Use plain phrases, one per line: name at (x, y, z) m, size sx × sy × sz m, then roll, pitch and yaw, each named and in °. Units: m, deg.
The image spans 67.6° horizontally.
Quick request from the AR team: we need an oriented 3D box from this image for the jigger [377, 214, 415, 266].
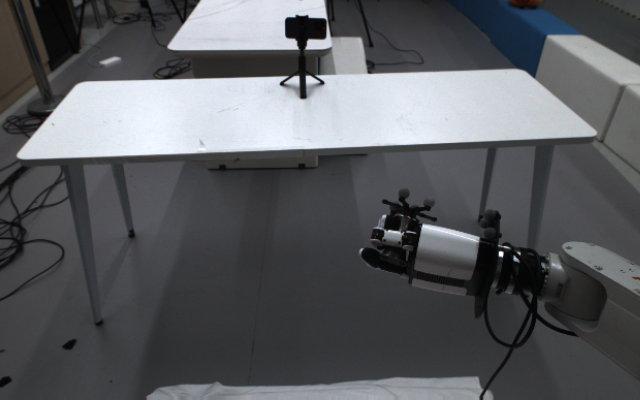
jigger at (0.121, 0.058, 0.735) m, size 0.043 × 0.043 × 0.071 m, roll 16°, pitch 70°, yaw 19°
